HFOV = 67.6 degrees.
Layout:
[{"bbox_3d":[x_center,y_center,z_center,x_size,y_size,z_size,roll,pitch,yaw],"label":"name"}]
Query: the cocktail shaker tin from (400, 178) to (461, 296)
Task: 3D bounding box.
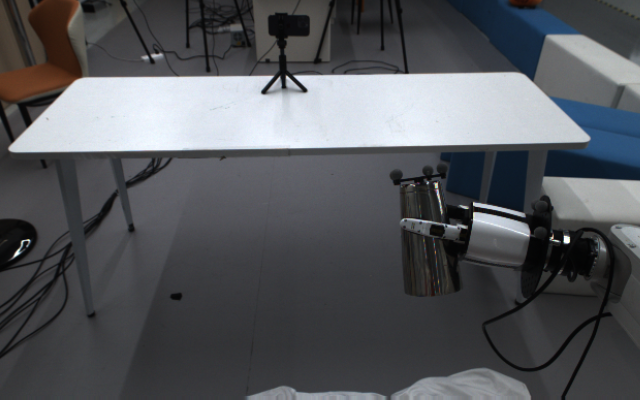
[{"bbox_3d":[0.169,0.057,0.766,0.093,0.170,0.093,-8,1,0],"label":"cocktail shaker tin"}]
